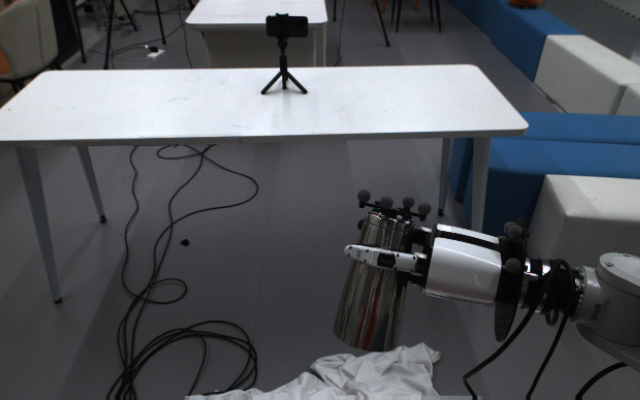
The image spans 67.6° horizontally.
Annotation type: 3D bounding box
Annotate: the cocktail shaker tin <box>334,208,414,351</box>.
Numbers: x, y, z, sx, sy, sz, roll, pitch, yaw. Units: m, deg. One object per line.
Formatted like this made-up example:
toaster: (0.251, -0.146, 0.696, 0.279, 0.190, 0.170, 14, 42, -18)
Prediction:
cocktail shaker tin: (0.081, 0.100, 0.651, 0.093, 0.170, 0.093, 10, 9, -2)
